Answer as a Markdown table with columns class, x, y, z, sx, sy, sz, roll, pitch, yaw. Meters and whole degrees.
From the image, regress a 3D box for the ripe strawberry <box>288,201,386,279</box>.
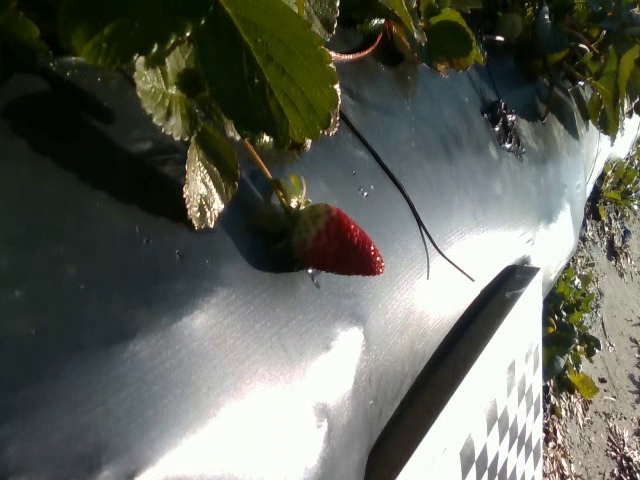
| class | x | y | z | sx | sy | sz | roll | pitch | yaw |
| --- | --- | --- | --- | --- | --- | --- | --- | --- | --- |
| ripe strawberry | 0.008 | 0.002 | 0.224 | 0.041 | 0.028 | 0.031 | 28 | -33 | 6 |
